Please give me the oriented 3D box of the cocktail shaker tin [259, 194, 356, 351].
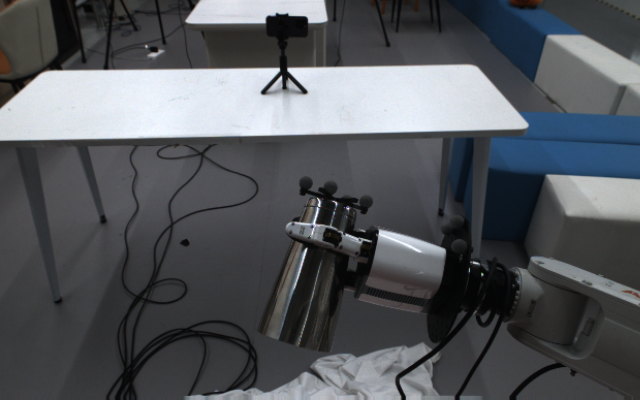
[{"bbox_3d":[-0.004,0.086,0.594,0.093,0.093,0.170,13,79,15],"label":"cocktail shaker tin"}]
